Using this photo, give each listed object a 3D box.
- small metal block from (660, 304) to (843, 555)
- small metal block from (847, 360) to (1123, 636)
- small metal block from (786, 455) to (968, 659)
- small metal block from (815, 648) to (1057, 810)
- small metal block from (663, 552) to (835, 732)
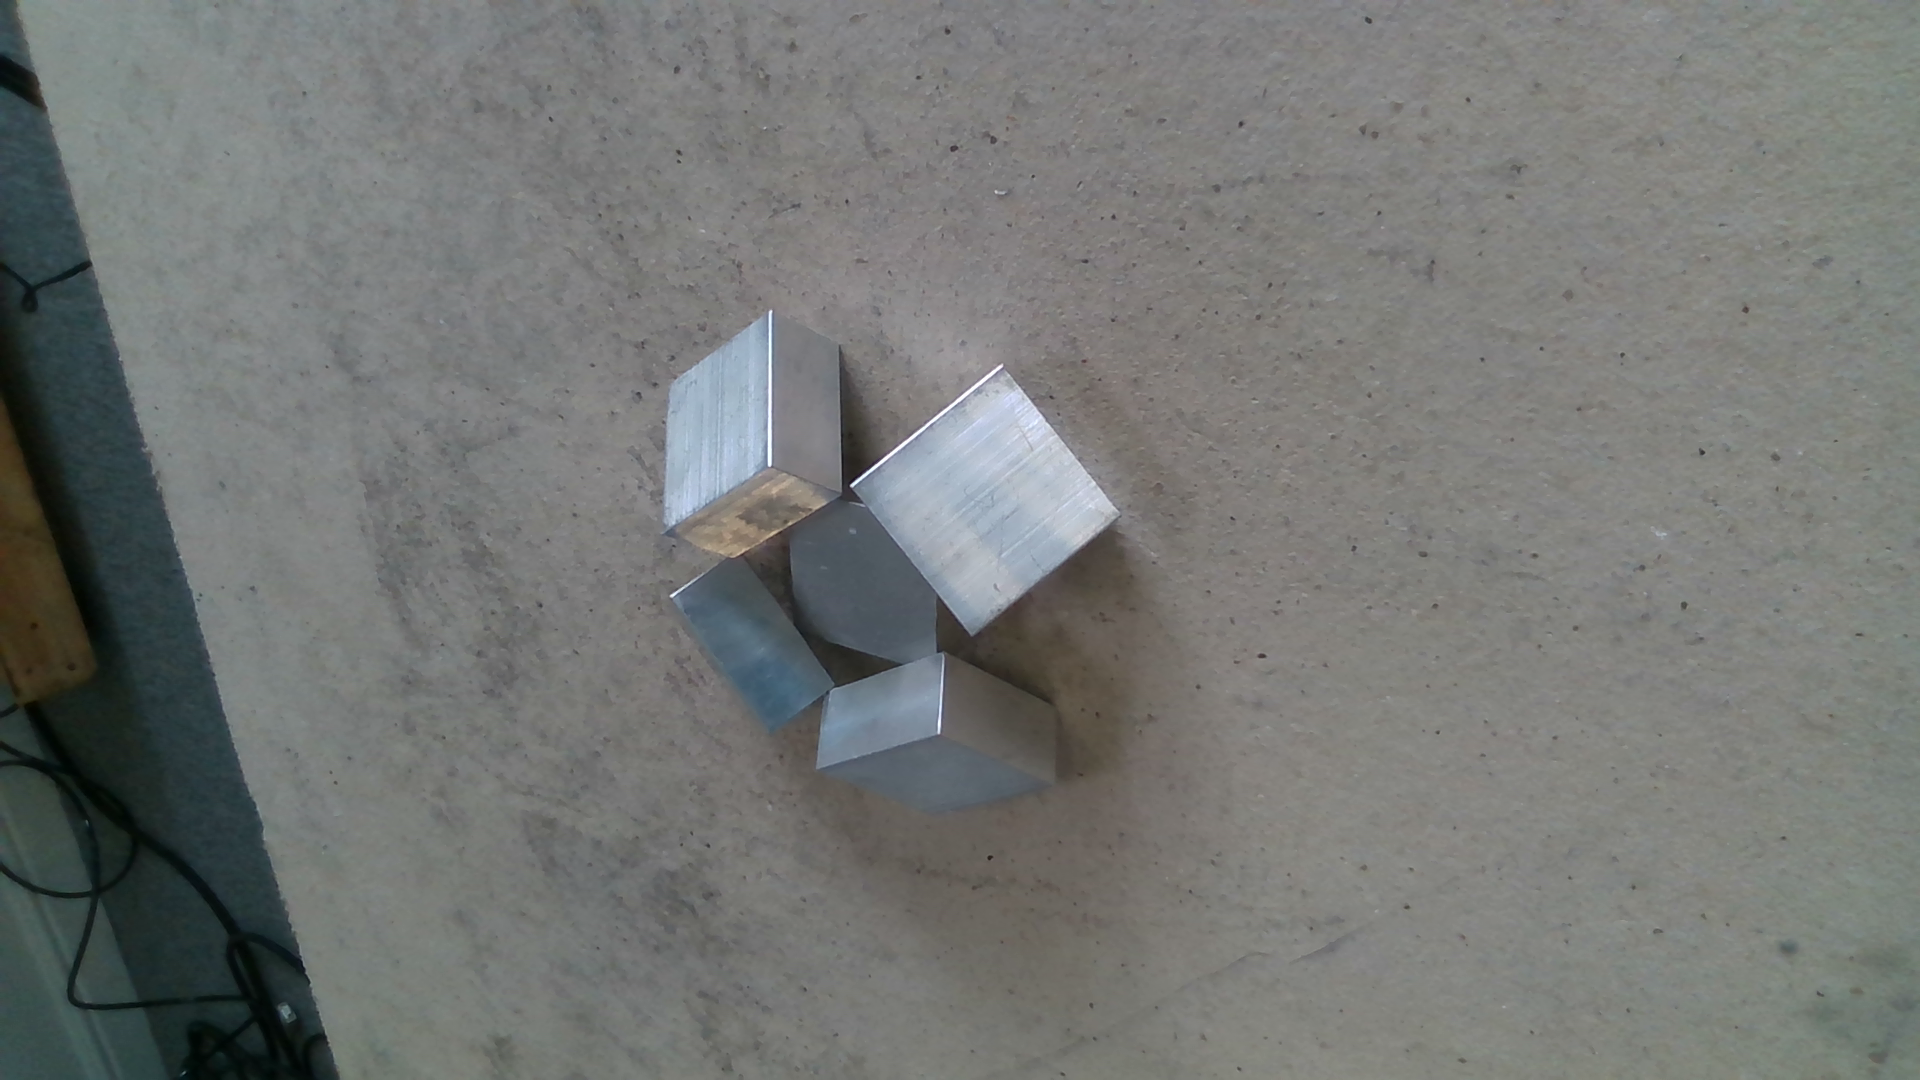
[{"bbox_3d":[-0.060,-0.030,0.392,0.050,0.025,0.050,-27,56,38],"label":"small metal block"},{"bbox_3d":[0.006,-0.011,0.363,0.050,0.025,0.050,-39,93,-2],"label":"small metal block"},{"bbox_3d":[-0.023,0.006,0.406,0.050,0.025,0.050,14,123,25],"label":"small metal block"},{"bbox_3d":[-0.007,0.058,0.409,0.050,0.025,0.050,-21,144,38],"label":"small metal block"},{"bbox_3d":[-0.067,0.031,0.431,0.050,0.025,0.050,55,167,-5],"label":"small metal block"}]
